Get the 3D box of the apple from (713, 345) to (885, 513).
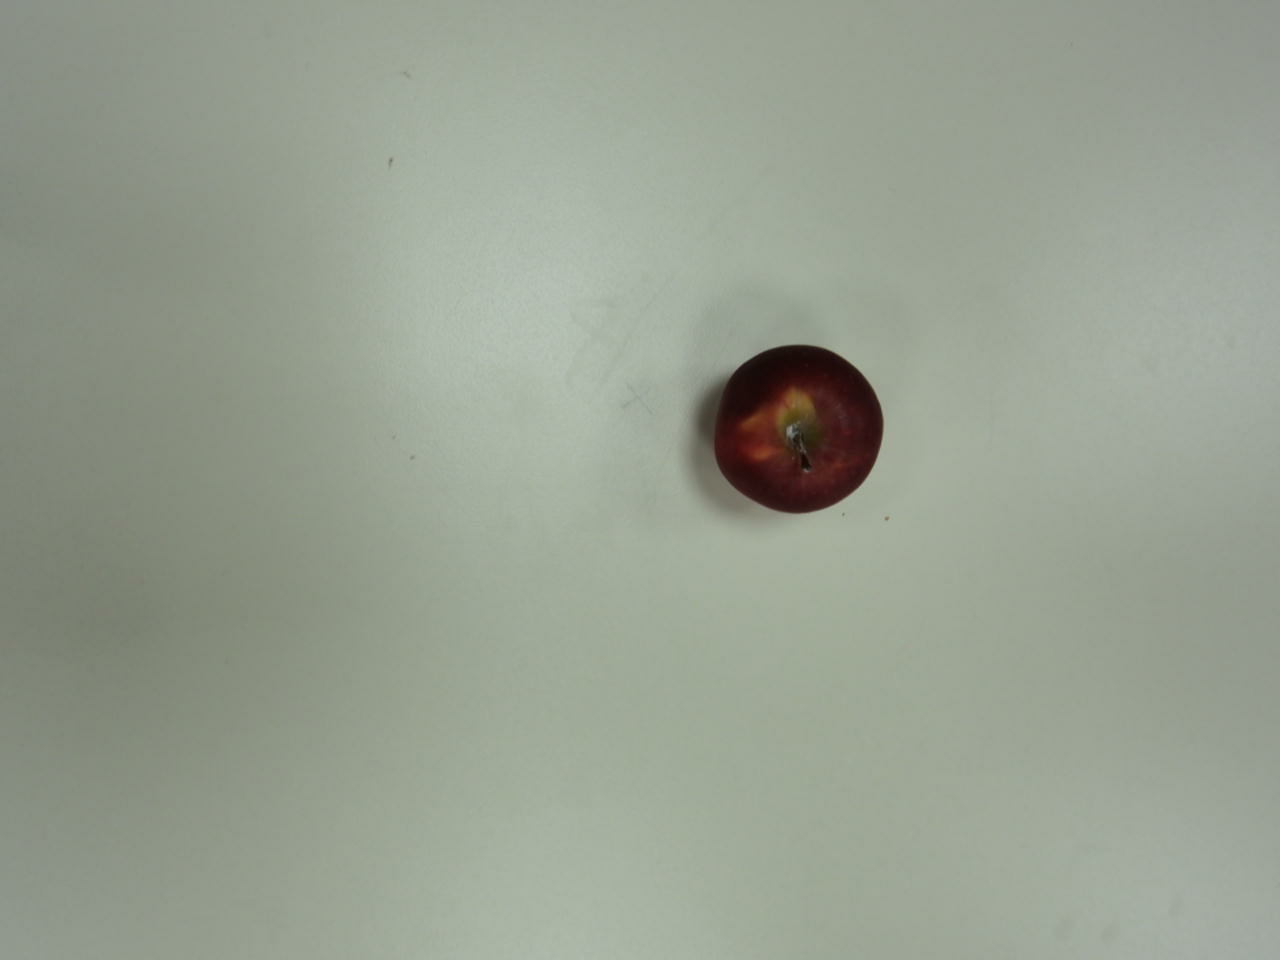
[{"bbox_3d":[0.065,-0.020,0.415,0.070,0.072,0.070,0,90,-11],"label":"apple"}]
